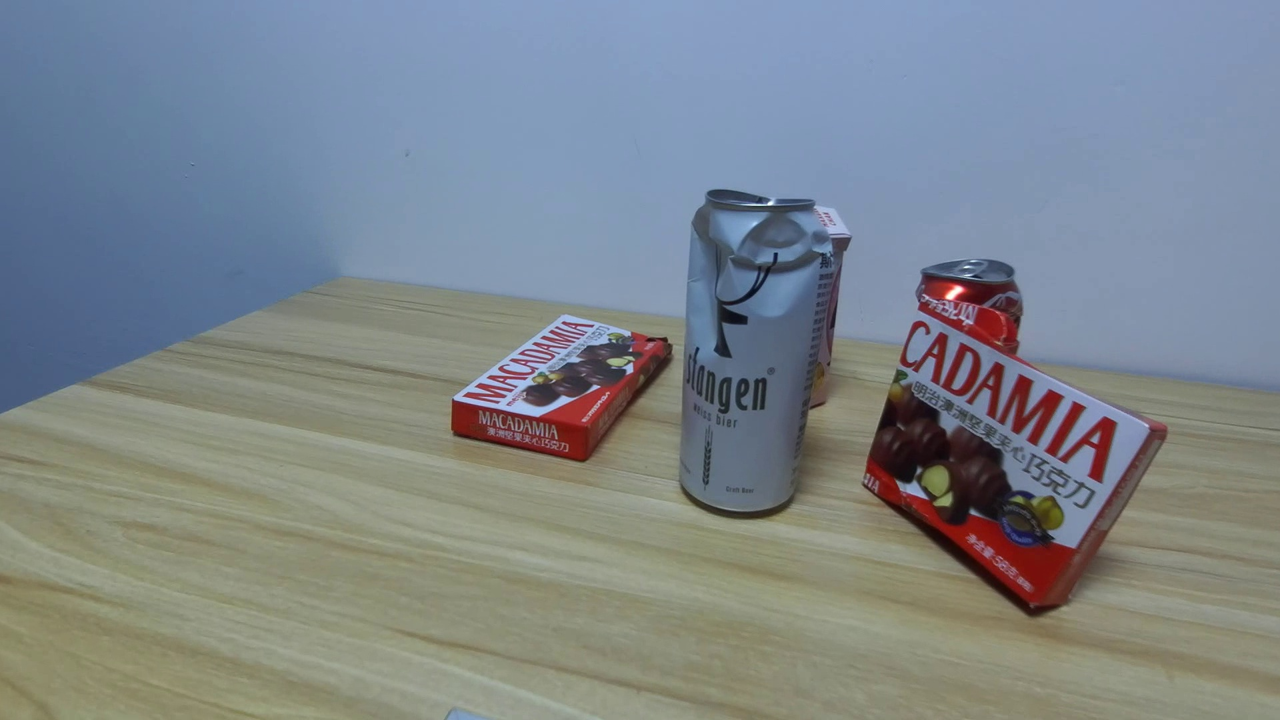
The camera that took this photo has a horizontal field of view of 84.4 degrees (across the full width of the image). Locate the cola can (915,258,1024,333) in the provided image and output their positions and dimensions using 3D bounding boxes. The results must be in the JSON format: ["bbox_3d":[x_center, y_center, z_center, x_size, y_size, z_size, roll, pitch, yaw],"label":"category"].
[{"bbox_3d":[0.209,-0.008,0.464,0.069,0.112,0.065,4,26,3],"label":"cola can"}]

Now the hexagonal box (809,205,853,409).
[{"bbox_3d":[0.095,-0.039,0.501,0.085,0.135,0.092,-1,24,-3],"label":"hexagonal box"}]

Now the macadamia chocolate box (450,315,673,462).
[{"bbox_3d":[-0.045,0.011,0.515,0.102,0.027,0.187,11,25,15],"label":"macadamia chocolate box"}]

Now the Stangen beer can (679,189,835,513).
[{"bbox_3d":[0.057,-0.002,0.371,0.066,0.166,0.065,-4,23,-14],"label":"Stangen beer can"}]

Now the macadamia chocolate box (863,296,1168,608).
[{"bbox_3d":[0.177,0.040,0.350,0.056,0.112,0.126,-6,24,-20],"label":"macadamia chocolate box"}]
